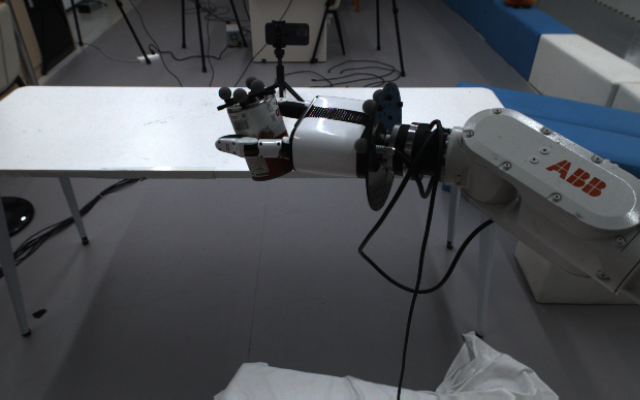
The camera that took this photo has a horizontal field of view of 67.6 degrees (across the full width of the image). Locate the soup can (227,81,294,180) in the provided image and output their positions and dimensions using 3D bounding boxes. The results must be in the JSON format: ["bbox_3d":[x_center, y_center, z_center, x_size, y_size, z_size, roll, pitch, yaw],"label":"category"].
[{"bbox_3d":[-0.076,-0.084,0.650,0.067,0.101,0.067,-16,23,7],"label":"soup can"}]
